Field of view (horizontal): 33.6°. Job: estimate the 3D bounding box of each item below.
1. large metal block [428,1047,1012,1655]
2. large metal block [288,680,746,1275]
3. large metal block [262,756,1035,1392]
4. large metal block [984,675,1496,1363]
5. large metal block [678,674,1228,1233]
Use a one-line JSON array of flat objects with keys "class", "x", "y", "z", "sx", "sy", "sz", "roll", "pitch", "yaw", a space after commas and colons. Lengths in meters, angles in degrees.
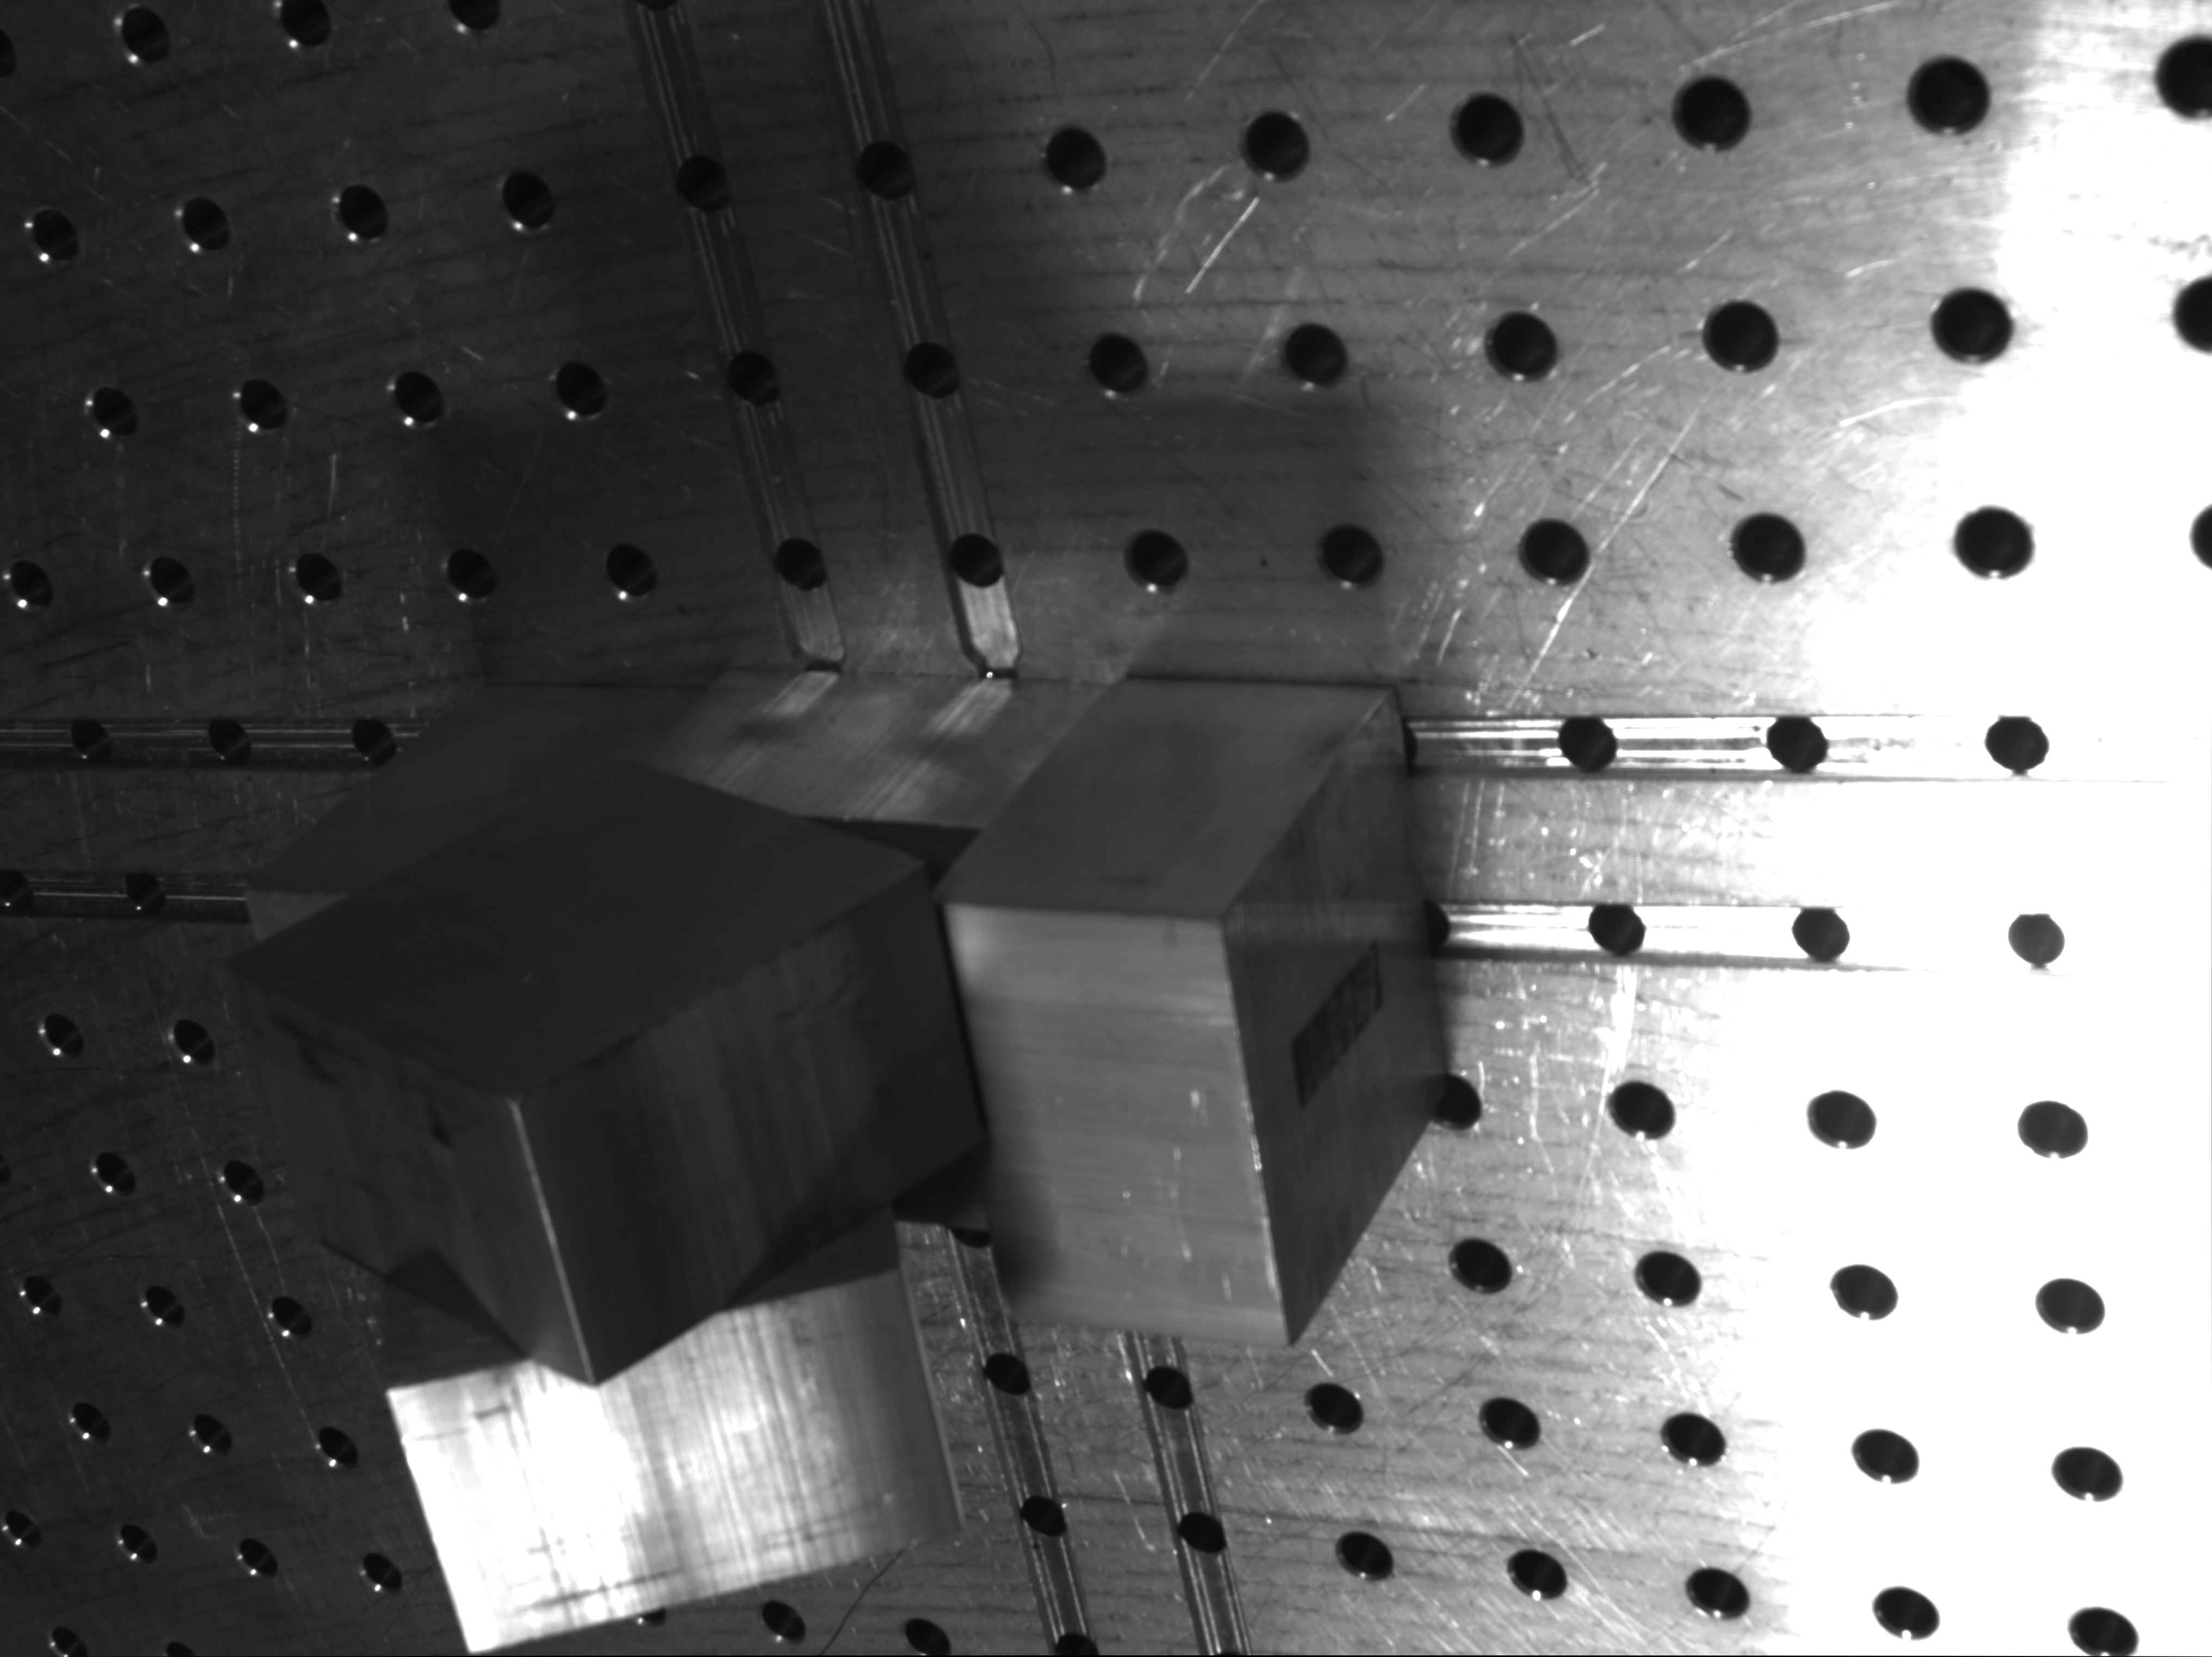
[{"class": "large metal block", "x": -0.064, "y": 0.081, "z": 0.595, "sx": 0.080, "sy": 0.080, "sz": 0.050, "roll": -13, "pitch": 116, "yaw": -4}, {"class": "large metal block", "x": -0.094, "y": 0.027, "z": 0.662, "sx": 0.050, "sy": 0.080, "sz": 0.080, "roll": 2, "pitch": 119, "yaw": 26}, {"class": "large metal block", "x": -0.071, "y": 0.035, "z": 0.575, "sx": 0.080, "sy": 0.080, "sz": 0.050, "roll": 18, "pitch": 128, "yaw": 44}, {"class": "large metal block", "x": 0.024, "y": 0.029, "z": 0.604, "sx": 0.050, "sy": 0.080, "sz": 0.080, "roll": 4, "pitch": 120, "yaw": 25}, {"class": "large metal block", "x": -0.029, "y": 0.021, "z": 0.643, "sx": 0.080, "sy": 0.050, "sz": 0.080, "roll": 3, "pitch": 119, "yaw": 25}]
